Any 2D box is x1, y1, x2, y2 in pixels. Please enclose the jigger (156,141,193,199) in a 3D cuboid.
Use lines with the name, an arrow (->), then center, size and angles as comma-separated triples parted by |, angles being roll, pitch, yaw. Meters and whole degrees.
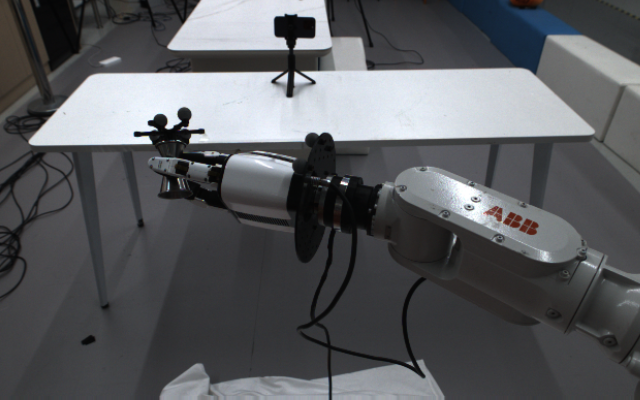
jigger -> -0.190, -0.038, 0.630 | 0.043, 0.043, 0.071 | -7, 79, -13
